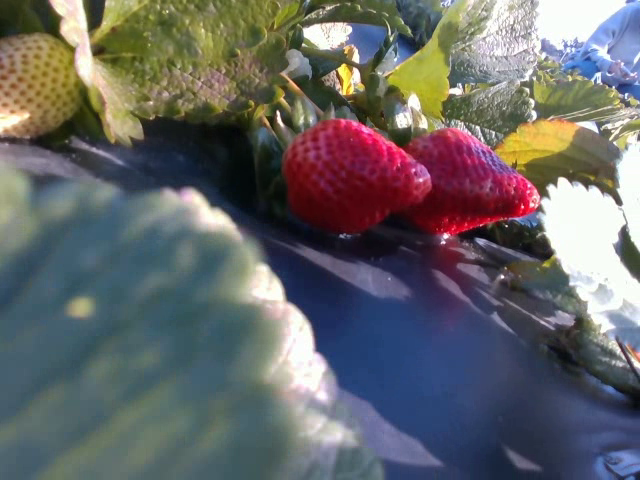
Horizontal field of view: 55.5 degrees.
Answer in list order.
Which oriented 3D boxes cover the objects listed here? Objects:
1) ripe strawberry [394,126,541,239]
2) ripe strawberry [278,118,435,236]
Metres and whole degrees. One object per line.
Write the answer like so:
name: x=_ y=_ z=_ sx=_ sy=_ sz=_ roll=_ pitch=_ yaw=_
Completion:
ripe strawberry: x=0.053 y=-0.017 z=0.213 sx=0.057 sy=0.046 sz=0.052 roll=21 pitch=41 yaw=37
ripe strawberry: x=0.012 y=-0.018 z=0.175 sx=0.051 sy=0.037 sz=0.043 roll=19 pitch=47 yaw=31
